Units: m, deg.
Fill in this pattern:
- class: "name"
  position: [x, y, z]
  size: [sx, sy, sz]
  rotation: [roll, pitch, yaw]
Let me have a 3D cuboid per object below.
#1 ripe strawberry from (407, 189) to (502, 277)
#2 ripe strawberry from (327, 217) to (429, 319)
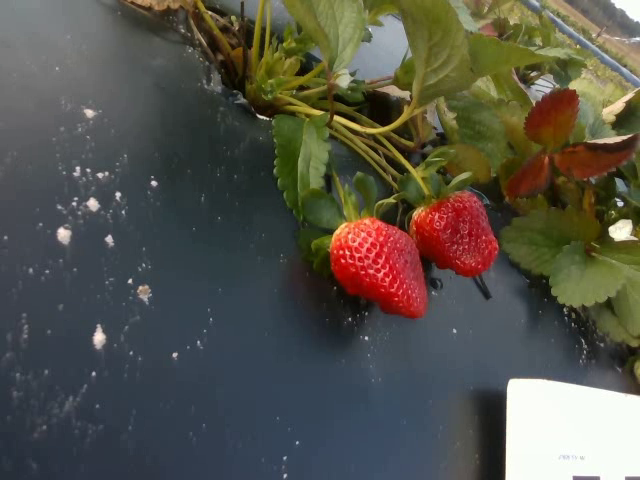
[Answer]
- class: "ripe strawberry"
  position: [0.076, -0.005, 0.305]
  size: [0.042, 0.053, 0.034]
  rotation: [-4, -40, -33]
- class: "ripe strawberry"
  position: [0.032, 0.014, 0.259]
  size: [0.050, 0.045, 0.061]
  rotation: [2, 43, -33]
